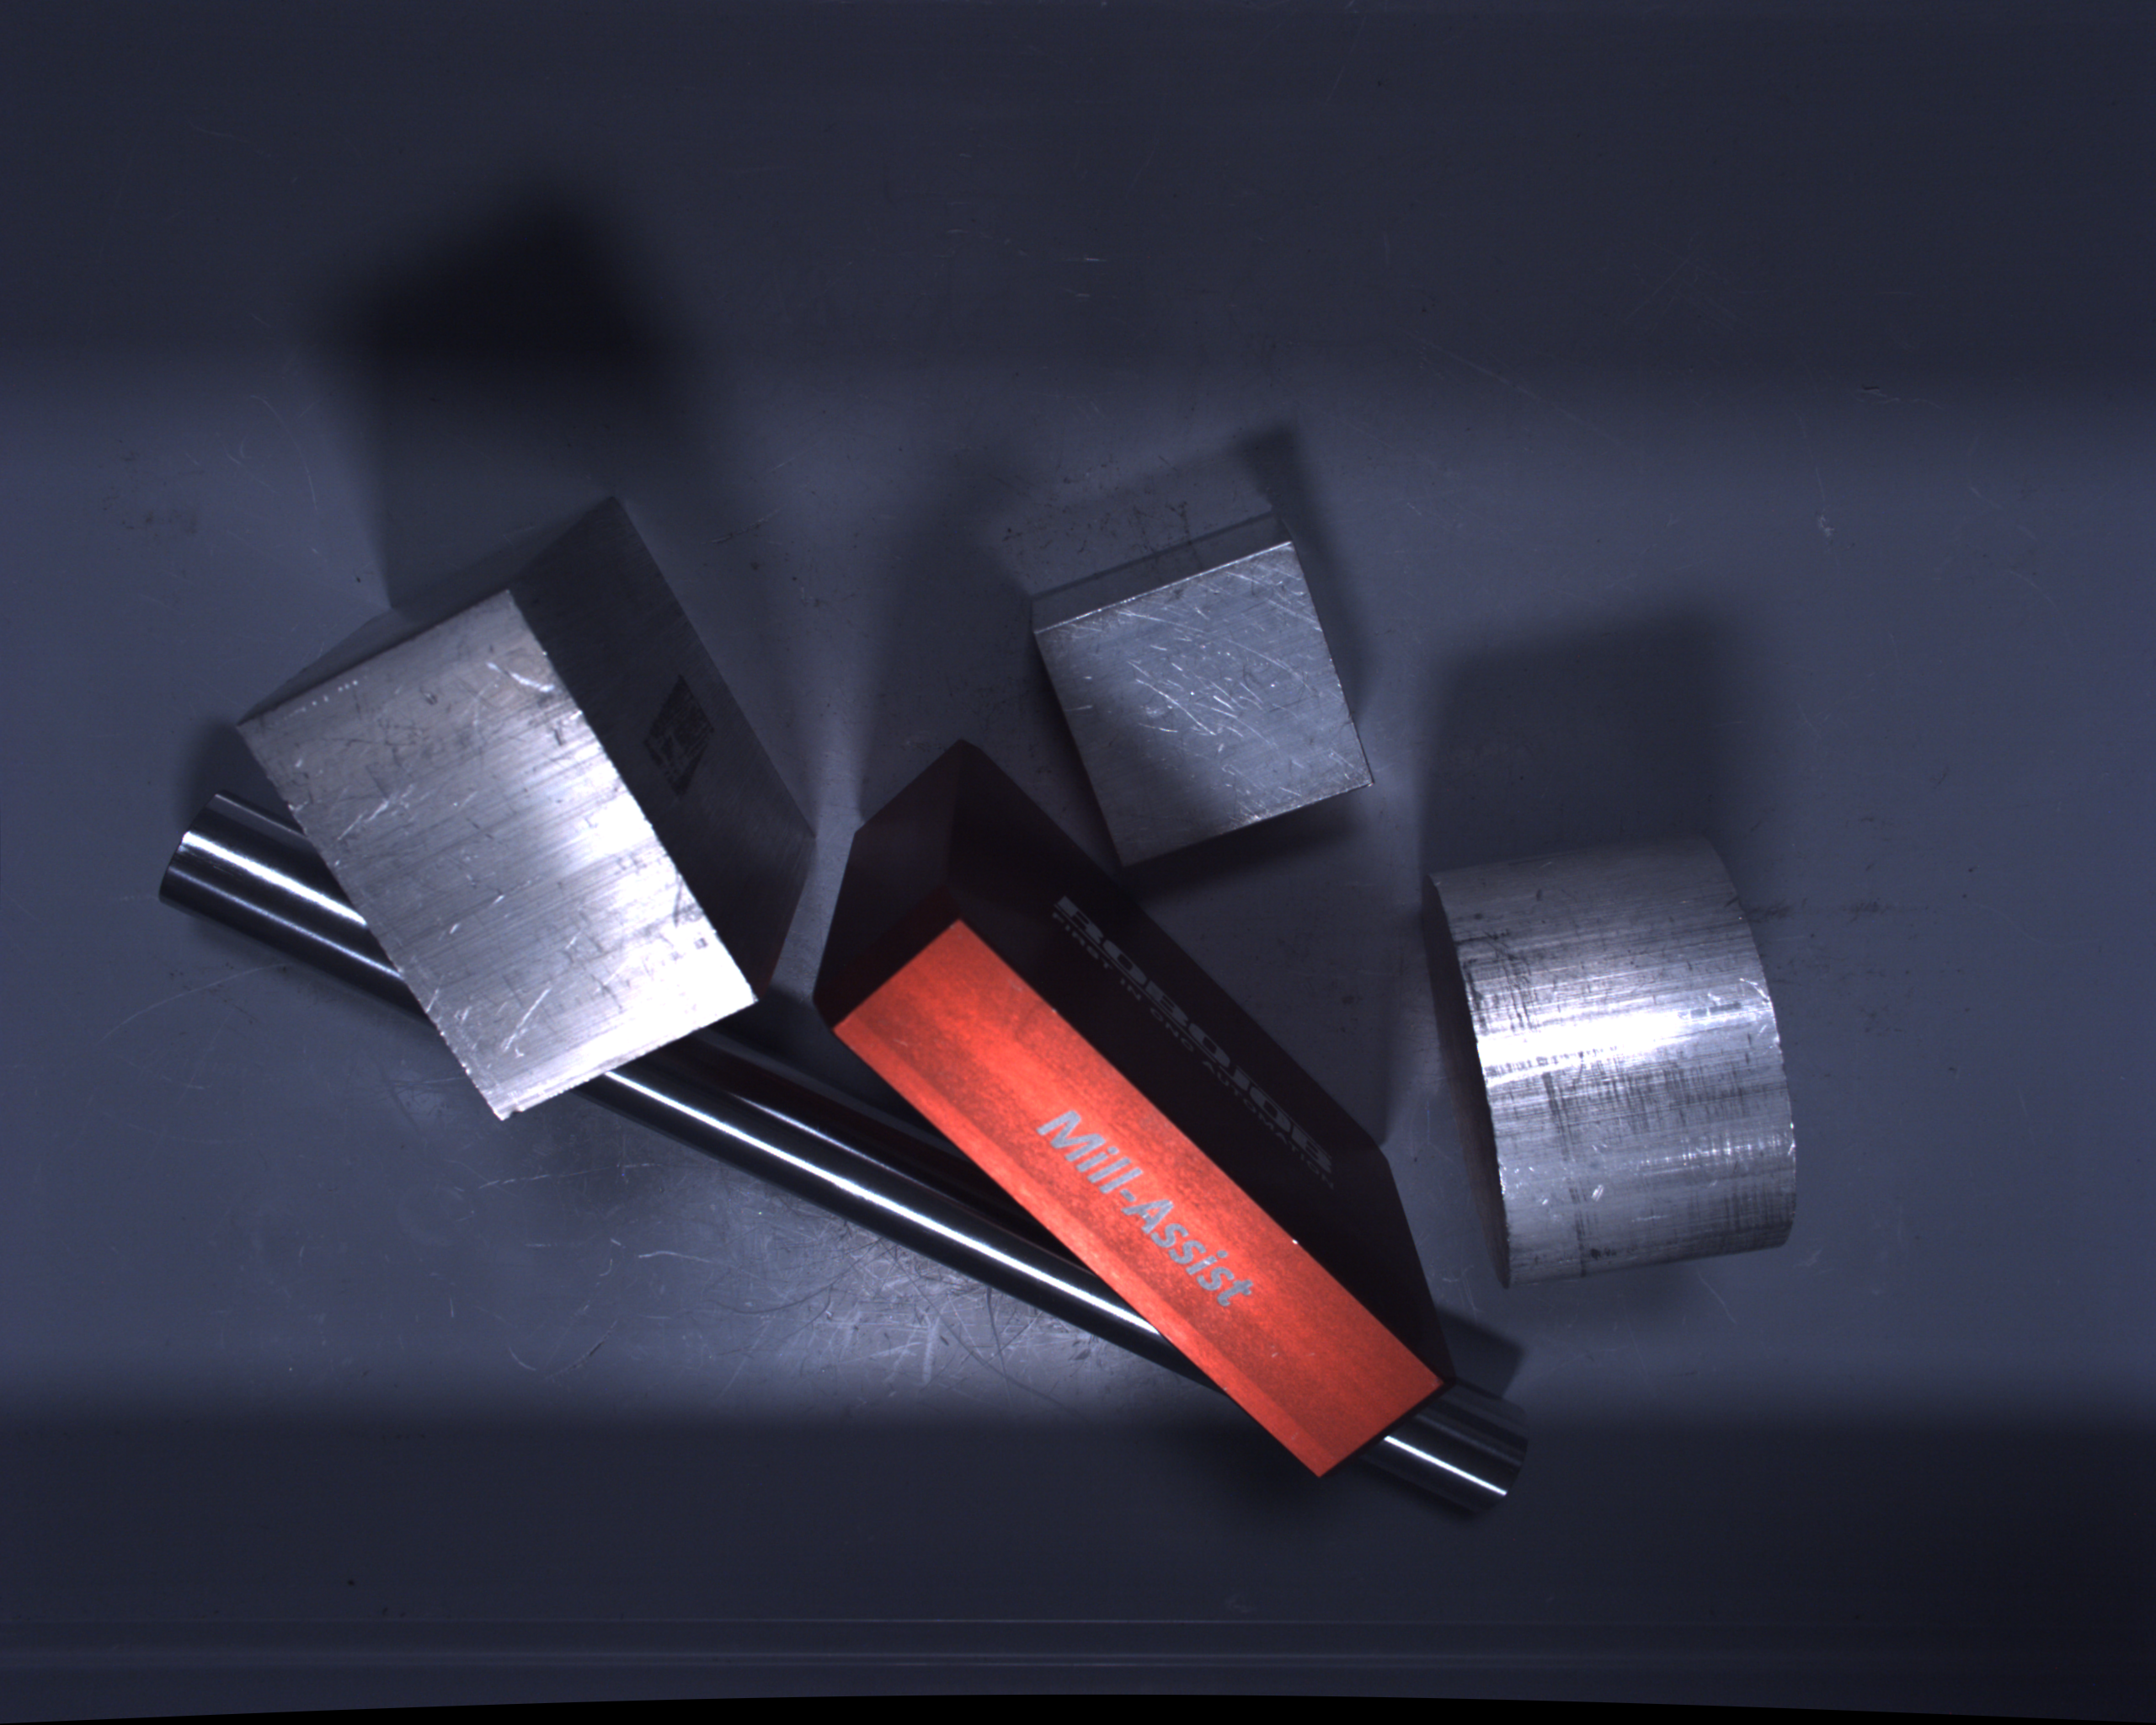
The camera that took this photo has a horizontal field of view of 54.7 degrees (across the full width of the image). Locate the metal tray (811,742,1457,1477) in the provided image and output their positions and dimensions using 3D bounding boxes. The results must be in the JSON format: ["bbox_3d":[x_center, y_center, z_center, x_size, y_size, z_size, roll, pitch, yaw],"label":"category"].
[{"bbox_3d":[0.011,0.043,0.390,0.030,0.090,0.130,-42,105,13],"label":"metal tray"}]

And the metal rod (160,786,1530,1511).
[{"bbox_3d":[-0.040,0.063,0.433,0.301,0.025,0.025,27,108,-10],"label":"metal rod"}]

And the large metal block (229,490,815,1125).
[{"bbox_3d":[-0.093,-0.013,0.374,0.050,0.080,0.080,-25,109,8],"label":"large metal block"}]

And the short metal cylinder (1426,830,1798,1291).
[{"bbox_3d":[0.098,0.037,0.395,0.050,0.080,0.079,-11,110,4],"label":"short metal cylinder"}]

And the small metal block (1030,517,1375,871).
[{"bbox_3d":[0.023,-0.033,0.397,0.050,0.025,0.050,-19,109,6],"label":"small metal block"}]
